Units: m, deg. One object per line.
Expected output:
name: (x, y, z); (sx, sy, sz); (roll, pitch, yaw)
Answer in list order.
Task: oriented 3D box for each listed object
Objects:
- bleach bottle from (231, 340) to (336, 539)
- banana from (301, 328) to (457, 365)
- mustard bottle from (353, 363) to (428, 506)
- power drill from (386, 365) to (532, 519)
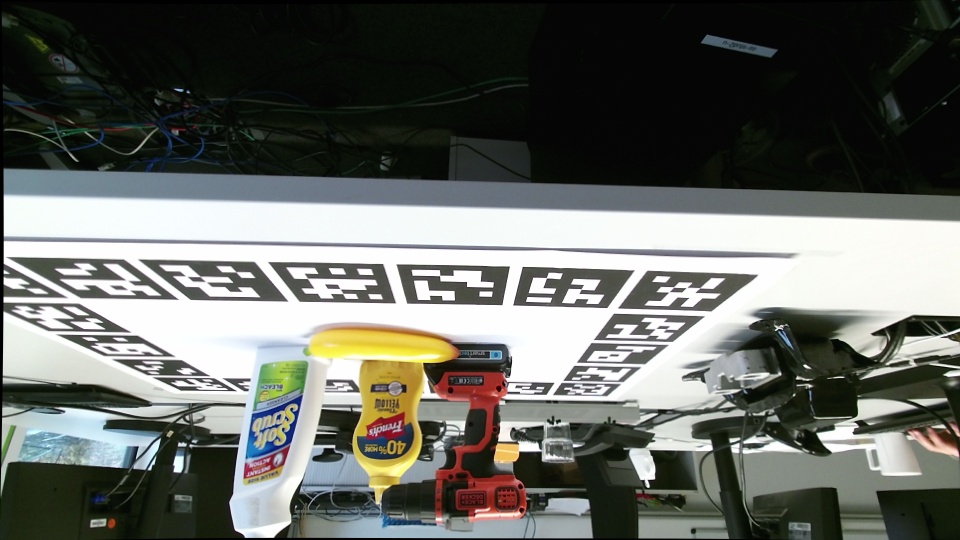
bleach bottle: (-0.256, 0.219, 0.693); (0.103, 0.249, 0.068); (-2, 151, 6)
banana: (-0.126, 0.099, 0.664); (0.198, 0.038, 0.074); (1, 148, -5)
mustard bottle: (-0.127, 0.231, 0.757); (0.096, 0.190, 0.058); (3, 153, -1)
power drill: (-0.024, 0.222, 0.697); (0.185, 0.186, 0.057); (2, 159, 3)
